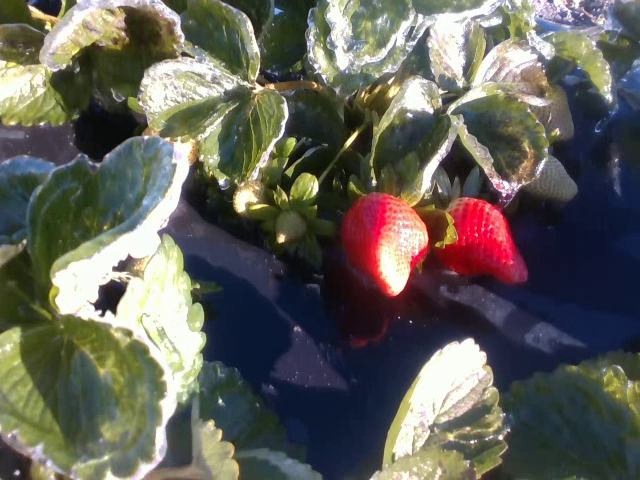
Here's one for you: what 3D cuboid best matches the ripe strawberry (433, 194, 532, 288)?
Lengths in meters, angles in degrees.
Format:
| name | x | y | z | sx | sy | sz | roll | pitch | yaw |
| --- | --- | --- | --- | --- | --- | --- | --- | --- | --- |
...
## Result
| name | x | y | z | sx | sy | sz | roll | pitch | yaw |
| --- | --- | --- | --- | --- | --- | --- | --- | --- | --- |
| ripe strawberry | 0.093 | -0.002 | 0.337 | 0.043 | 0.059 | 0.040 | -30 | -17 | -28 |

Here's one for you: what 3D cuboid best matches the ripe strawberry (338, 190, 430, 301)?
| name | x | y | z | sx | sy | sz | roll | pitch | yaw |
| --- | --- | --- | --- | --- | --- | --- | --- | --- | --- |
| ripe strawberry | 0.040 | 0.005 | 0.327 | 0.052 | 0.070 | 0.040 | 20 | -37 | -17 |
